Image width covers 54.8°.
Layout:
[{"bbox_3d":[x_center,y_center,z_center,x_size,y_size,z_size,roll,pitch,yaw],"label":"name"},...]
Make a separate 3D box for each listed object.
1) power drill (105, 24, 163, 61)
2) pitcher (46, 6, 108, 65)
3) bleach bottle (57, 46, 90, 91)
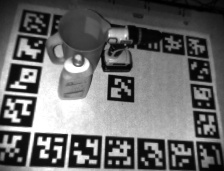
[{"bbox_3d":[0.059,-0.140,0.726,0.186,0.186,0.057,1,75,-17],"label":"power drill"},{"bbox_3d":[-0.106,-0.141,0.681,0.190,0.242,0.133,-22,79,-16],"label":"pitcher"},{"bbox_3d":[-0.117,-0.051,0.629,0.103,0.250,0.067,-3,73,-11],"label":"bleach bottle"}]
